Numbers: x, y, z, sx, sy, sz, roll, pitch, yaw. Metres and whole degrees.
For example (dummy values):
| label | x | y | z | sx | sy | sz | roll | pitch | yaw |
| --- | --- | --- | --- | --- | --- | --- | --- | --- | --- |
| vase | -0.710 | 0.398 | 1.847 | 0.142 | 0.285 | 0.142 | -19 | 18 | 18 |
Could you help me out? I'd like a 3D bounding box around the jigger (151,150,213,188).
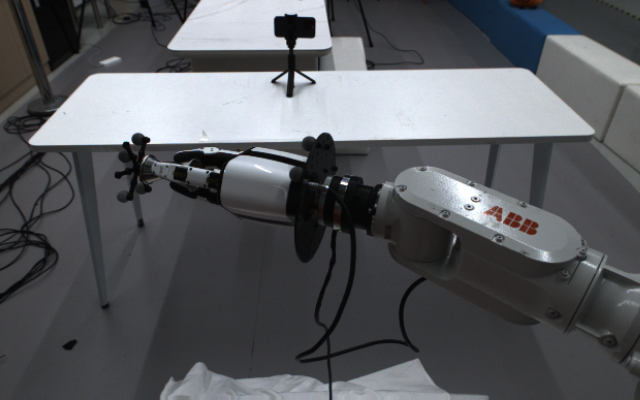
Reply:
| label | x | y | z | sx | sy | sz | roll | pitch | yaw |
| --- | --- | --- | --- | --- | --- | --- | --- | --- | --- |
| jigger | -0.189 | -0.038 | 0.635 | 0.071 | 0.043 | 0.043 | 7 | 35 | 13 |
